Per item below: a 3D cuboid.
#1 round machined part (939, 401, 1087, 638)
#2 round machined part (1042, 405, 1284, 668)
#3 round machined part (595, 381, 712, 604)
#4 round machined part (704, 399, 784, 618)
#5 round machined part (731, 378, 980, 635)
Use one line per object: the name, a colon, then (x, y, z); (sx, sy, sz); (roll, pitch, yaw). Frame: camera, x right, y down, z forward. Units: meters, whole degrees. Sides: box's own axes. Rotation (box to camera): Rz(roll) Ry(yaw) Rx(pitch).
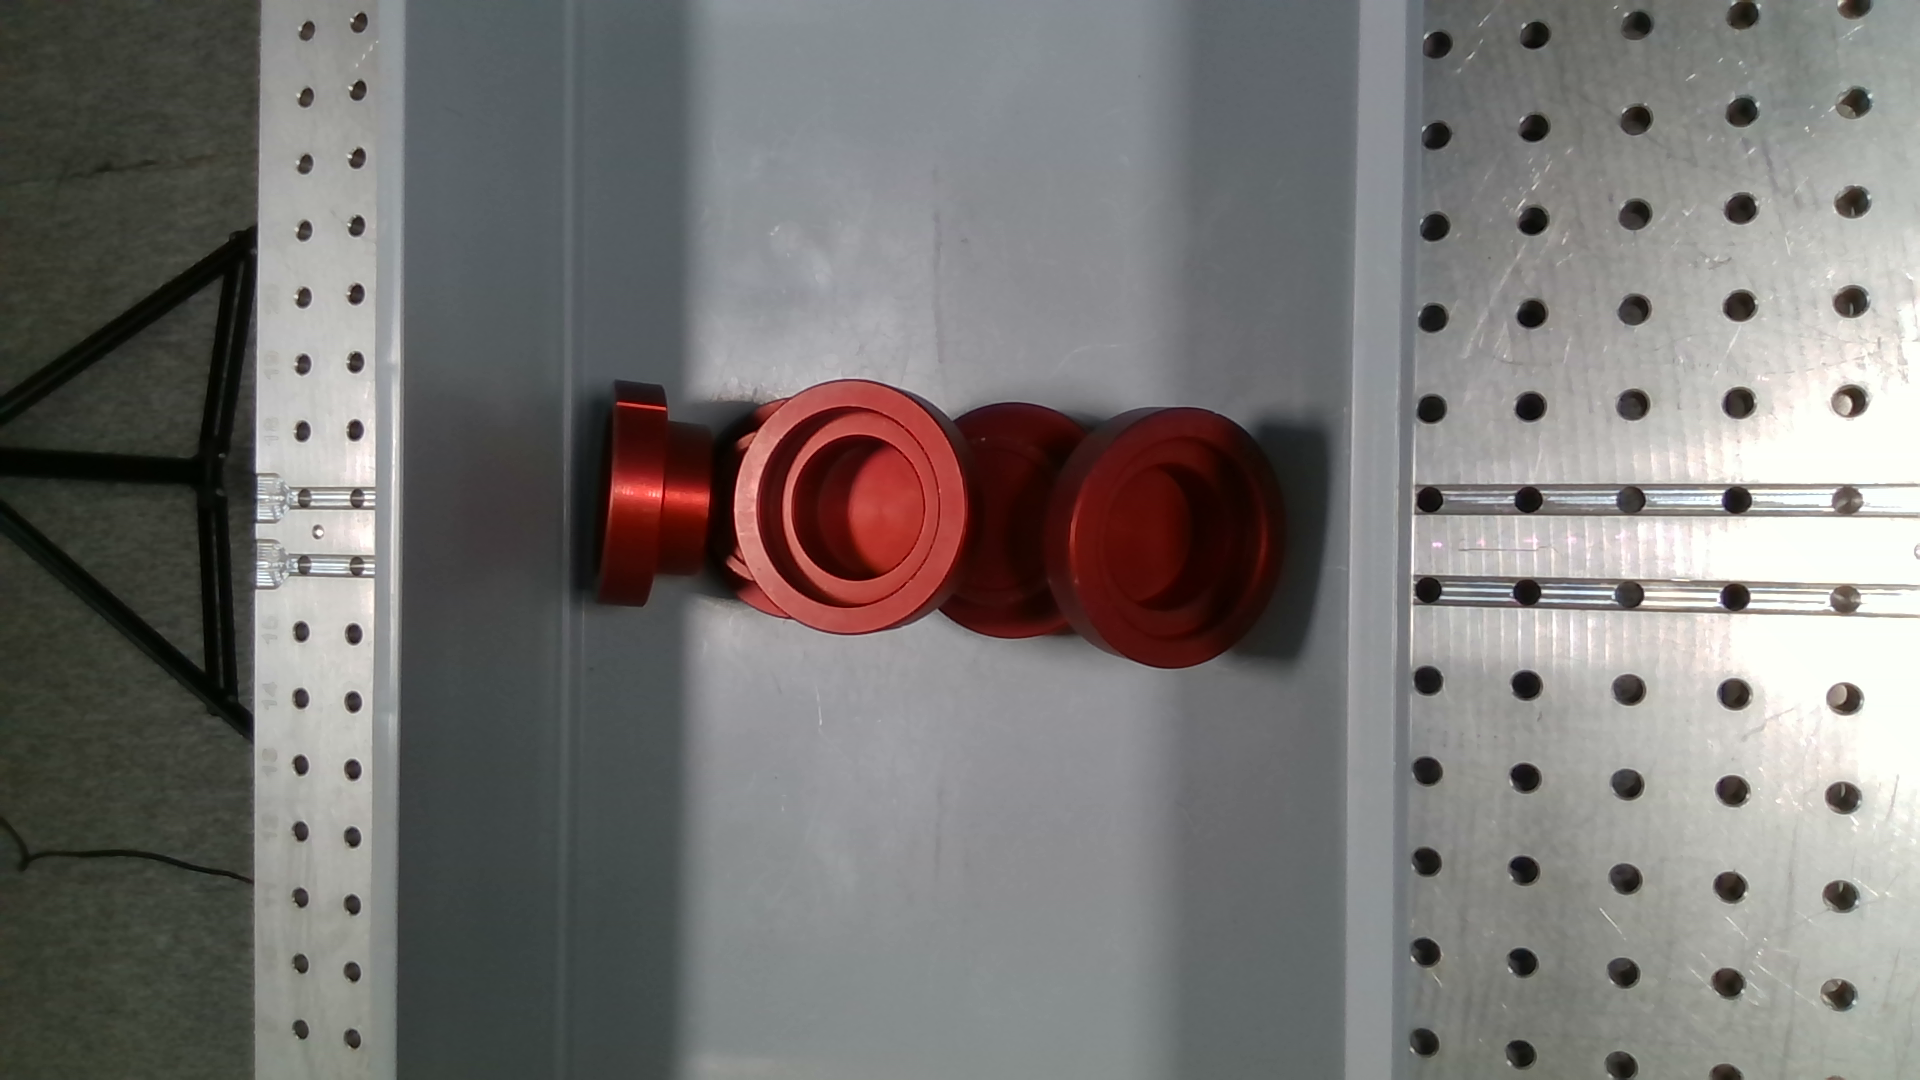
round machined part: (0.020, -0.008, 0.567); (0.098, 0.042, 0.098); (0, 91, 20)
round machined part: (0.073, -0.003, 0.529); (0.042, 0.098, 0.098); (12, 96, 62)
round machined part: (-0.135, -0.019, 0.606); (0.042, 0.098, 0.098); (5, 93, -17)
round machined part: (-0.072, -0.014, 0.601); (0.098, 0.042, 0.098); (0, 91, 20)
round machined part: (-0.037, -0.013, 0.543); (0.098, 0.042, 0.098); (0, 91, 20)
